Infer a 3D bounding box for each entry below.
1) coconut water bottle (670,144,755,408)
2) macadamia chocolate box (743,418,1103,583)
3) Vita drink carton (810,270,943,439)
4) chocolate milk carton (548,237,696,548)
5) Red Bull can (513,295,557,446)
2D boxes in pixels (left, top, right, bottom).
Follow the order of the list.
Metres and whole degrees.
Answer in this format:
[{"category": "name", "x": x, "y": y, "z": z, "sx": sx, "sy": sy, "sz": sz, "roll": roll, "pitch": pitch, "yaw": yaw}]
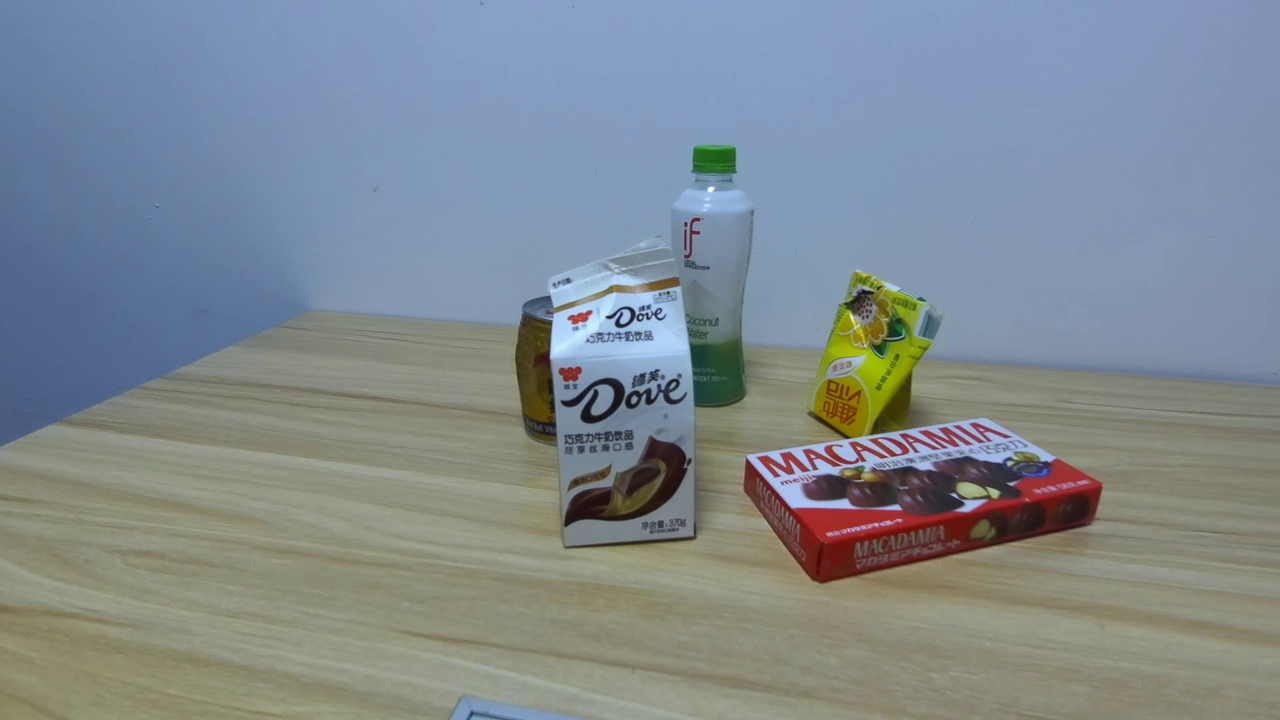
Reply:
[{"category": "coconut water bottle", "x": 0.053, "y": -0.062, "z": 0.532, "sx": 0.063, "sy": 0.188, "sz": 0.063, "roll": 0, "pitch": 19, "yaw": 0}, {"category": "macadamia chocolate box", "x": 0.159, "y": 0.075, "z": 0.411, "sx": 0.178, "sy": 0.027, "sz": 0.095, "roll": -6, "pitch": 22, "yaw": -15}, {"category": "Vita drink carton", "x": 0.165, "y": -0.001, "z": 0.495, "sx": 0.042, "sy": 0.108, "sz": 0.086, "roll": 5, "pitch": 18, "yaw": -30}, {"category": "chocolate milk carton", "x": -0.008, "y": 0.014, "z": 0.384, "sx": 0.076, "sy": 0.155, "sz": 0.073, "roll": -2, "pitch": 20, "yaw": -5}, {"category": "Red Bull can", "x": -0.057, "y": 0.010, "z": 0.530, "sx": 0.072, "sy": 0.092, "sz": 0.072, "roll": 0, "pitch": 9, "yaw": 0}]
